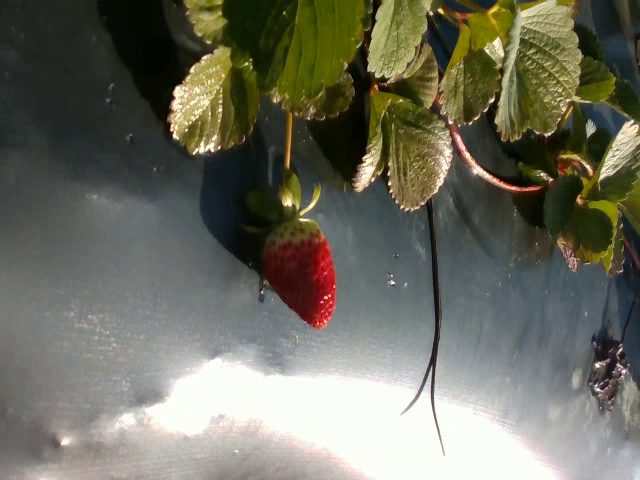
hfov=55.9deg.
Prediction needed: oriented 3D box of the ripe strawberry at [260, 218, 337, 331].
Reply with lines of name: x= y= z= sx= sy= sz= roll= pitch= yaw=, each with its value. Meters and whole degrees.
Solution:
ripe strawberry: x=-0.005 y=0.012 z=0.191 sx=0.028 sy=0.041 sz=0.031 roll=-9 pitch=-26 yaw=-27
